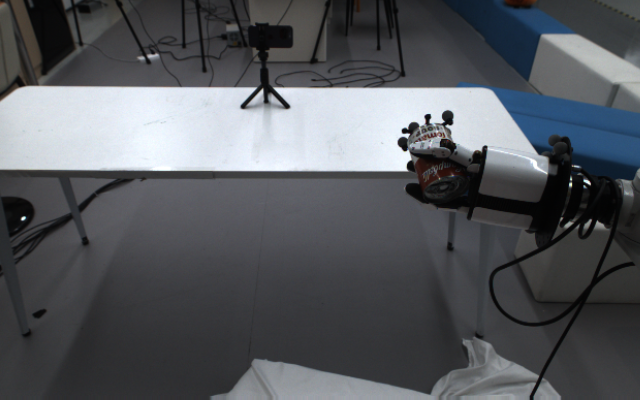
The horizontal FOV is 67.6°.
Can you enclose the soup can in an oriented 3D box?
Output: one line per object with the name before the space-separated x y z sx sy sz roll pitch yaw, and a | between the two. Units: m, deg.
soup can | 0.175 -0.056 0.720 0.067 0.067 0.101 -5 57 -10
